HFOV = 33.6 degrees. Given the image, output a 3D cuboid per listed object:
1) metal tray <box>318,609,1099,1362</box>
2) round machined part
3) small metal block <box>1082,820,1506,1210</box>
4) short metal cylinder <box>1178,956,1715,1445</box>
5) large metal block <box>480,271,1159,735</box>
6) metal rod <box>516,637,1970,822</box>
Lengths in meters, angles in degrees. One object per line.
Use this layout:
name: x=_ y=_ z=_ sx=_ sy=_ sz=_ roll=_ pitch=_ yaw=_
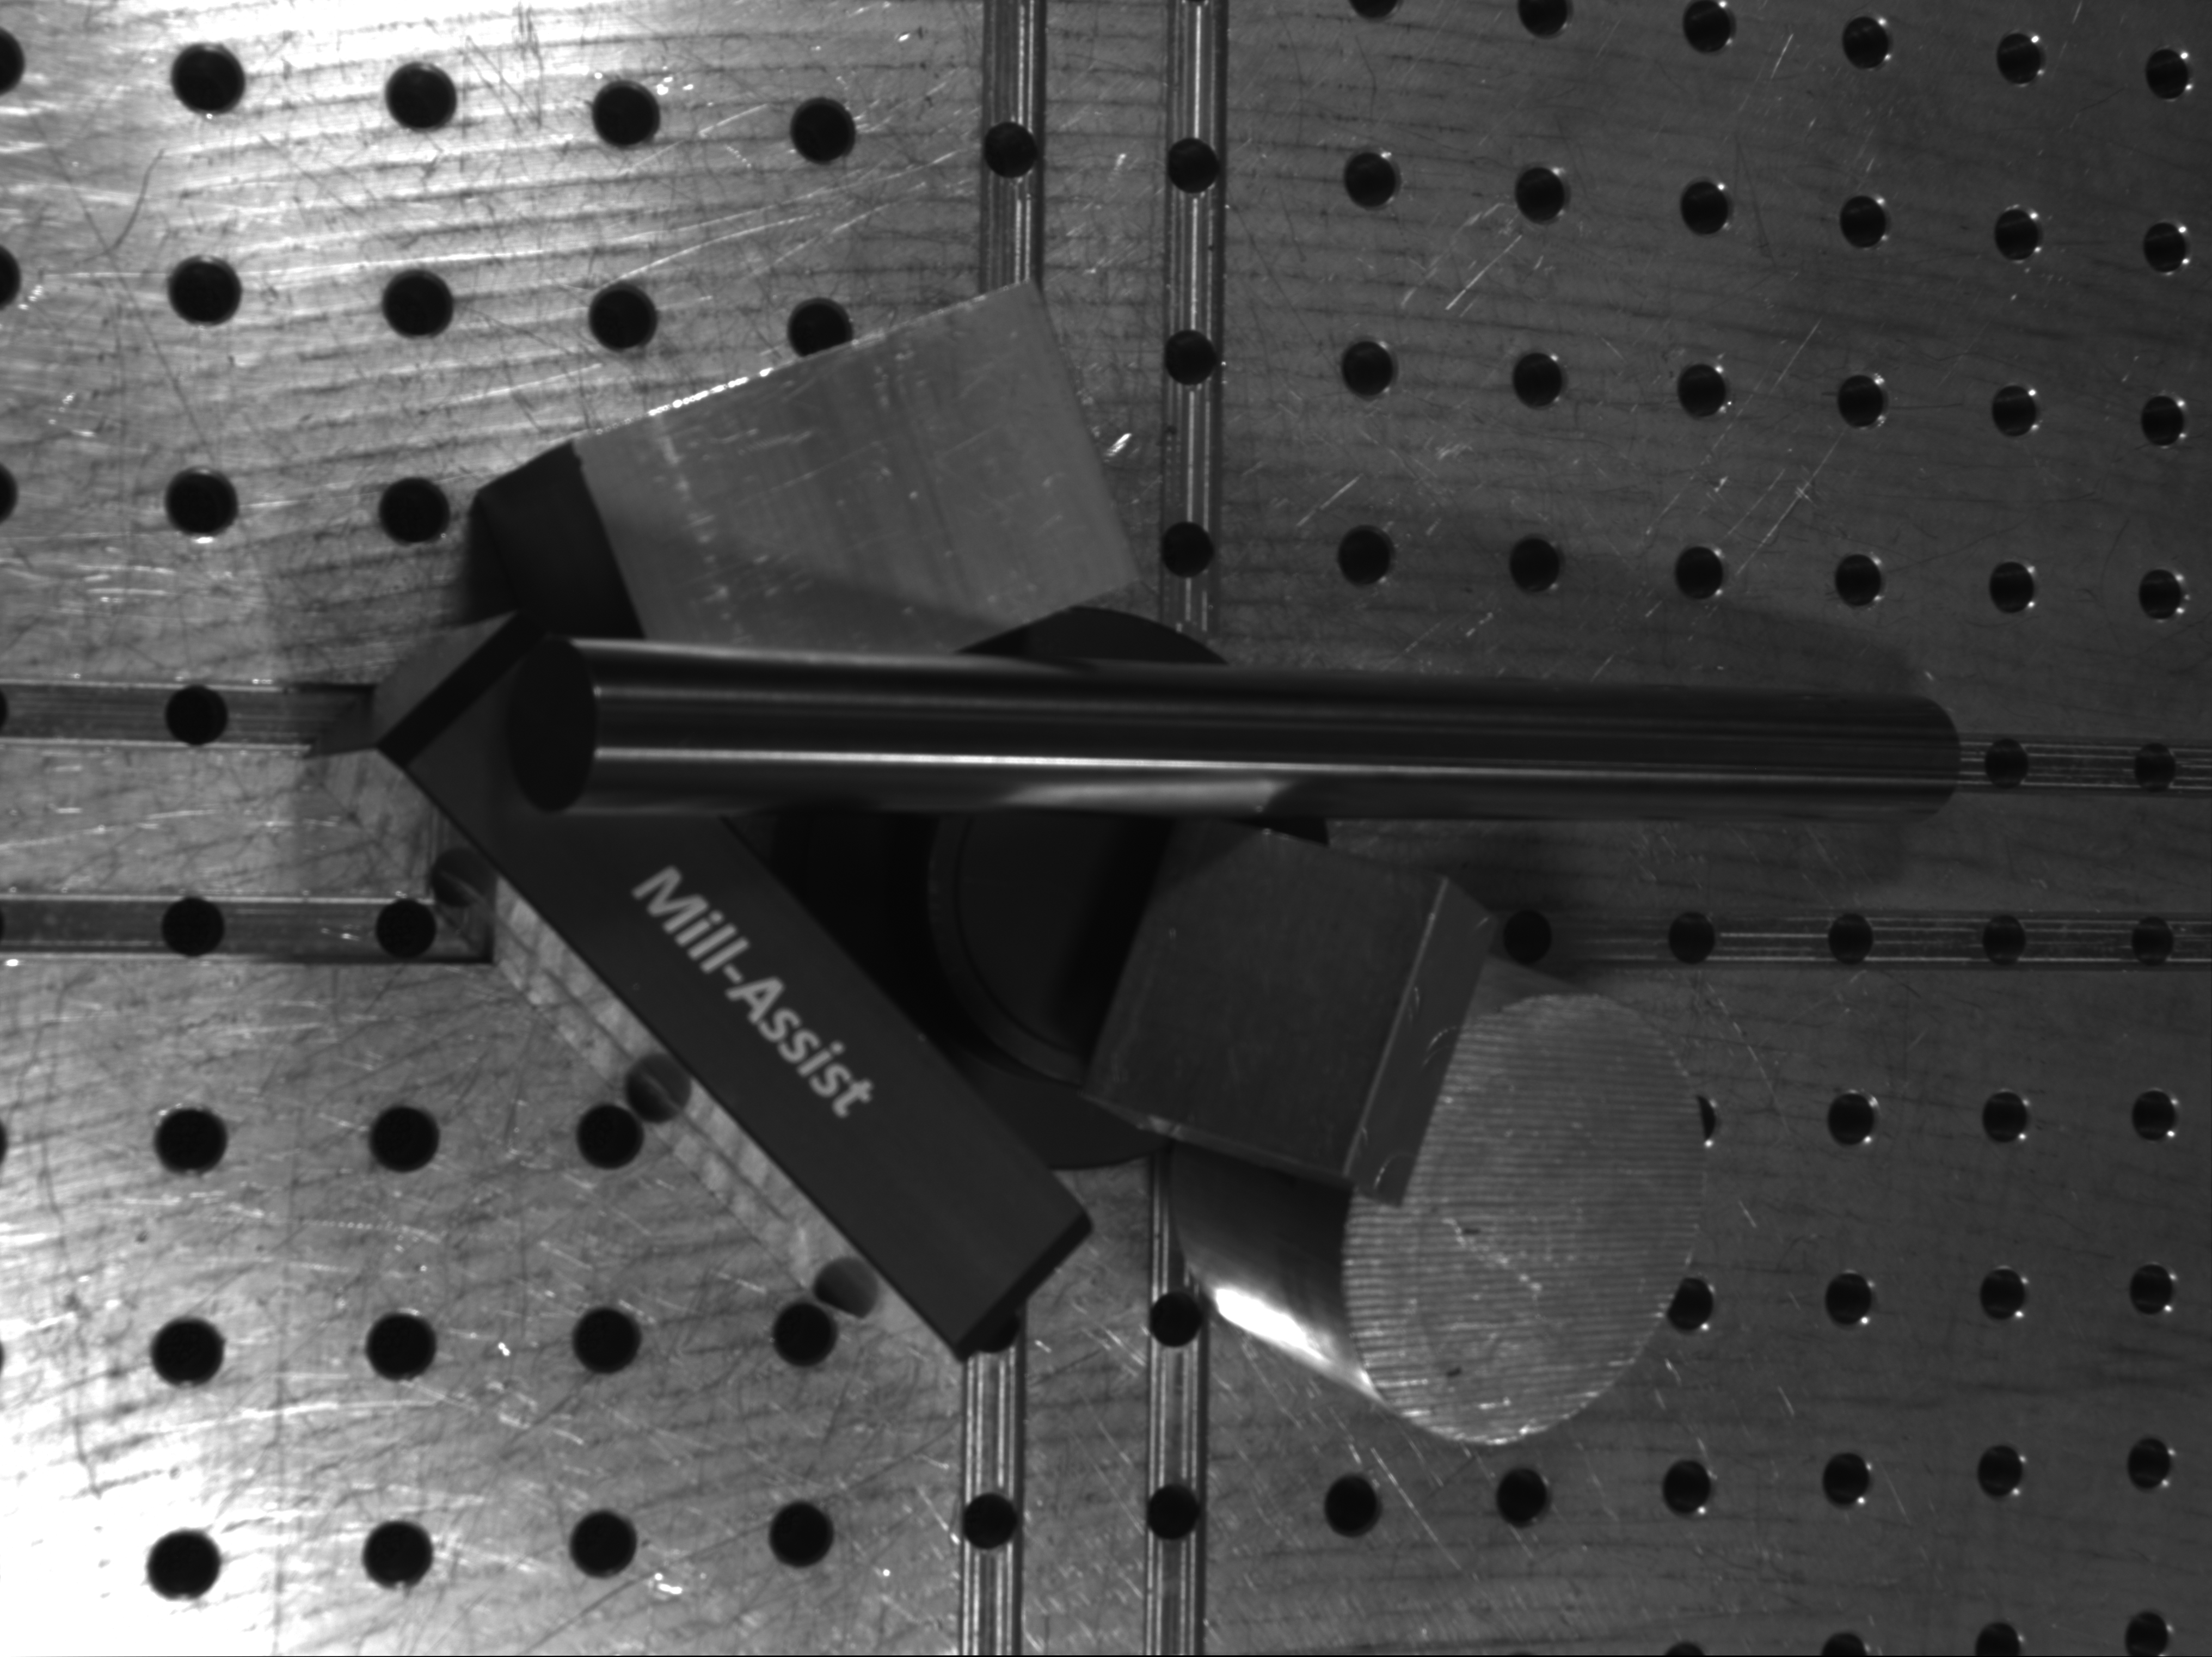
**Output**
metal tray: x=-0.066 y=0.025 z=0.587 sx=0.030 sy=0.090 sz=0.130 roll=-45 pitch=104 yaw=-14
round machined part: x=-0.005 y=0.010 z=0.638 sx=0.098 sy=0.042 sz=0.098 roll=0 pitch=90 yaw=-20
small metal block: x=0.031 y=0.029 z=0.597 sx=0.025 sy=0.050 sz=0.050 roll=35 pitch=72 yaw=-60
short metal cylinder: x=0.060 y=0.061 z=0.641 sx=0.080 sy=0.050 sz=0.080 roll=-10 pitch=108 yaw=-33
large metal block: x=-0.049 y=-0.049 z=0.597 sx=0.080 sy=0.080 sz=0.050 roll=-22 pitch=97 yaw=-18
metal rod: x=0.040 y=-0.014 z=0.610 sx=0.301 sy=0.025 sz=0.025 roll=0 pitch=90 yaw=-39
